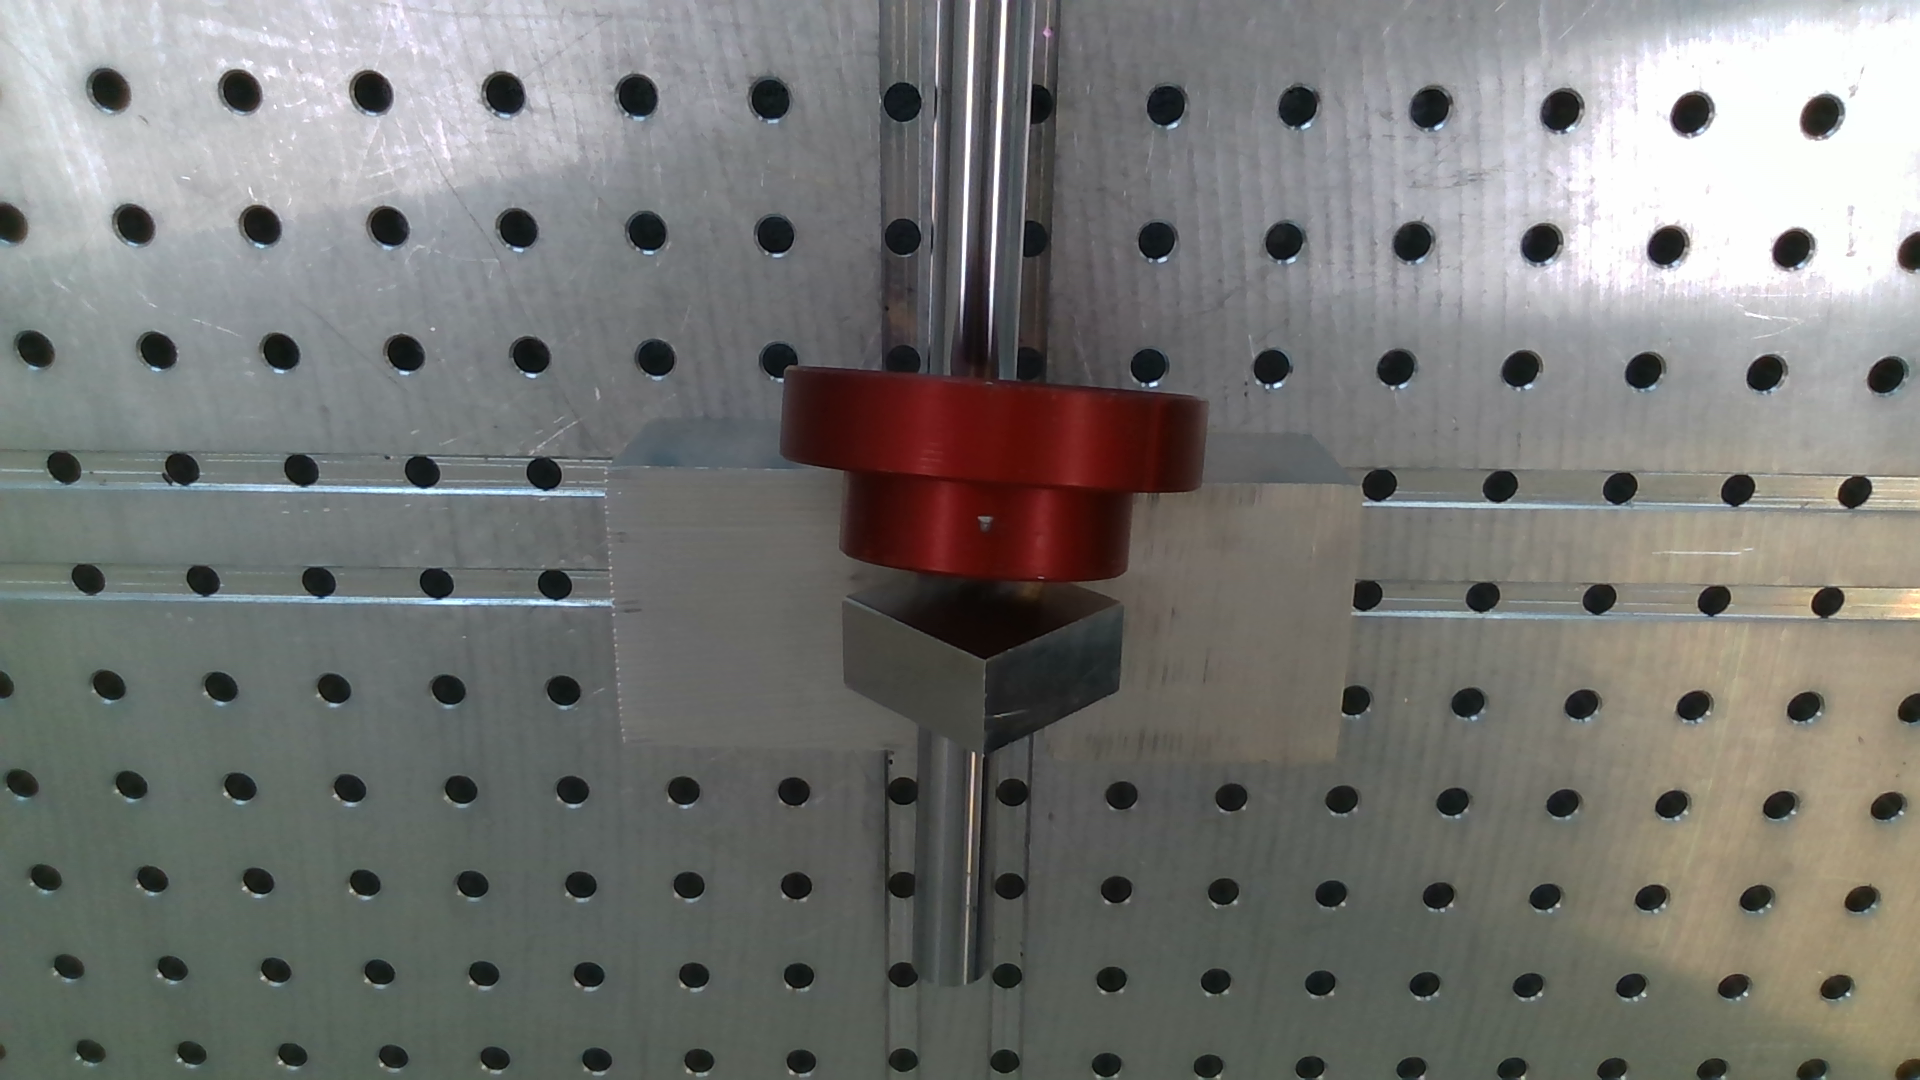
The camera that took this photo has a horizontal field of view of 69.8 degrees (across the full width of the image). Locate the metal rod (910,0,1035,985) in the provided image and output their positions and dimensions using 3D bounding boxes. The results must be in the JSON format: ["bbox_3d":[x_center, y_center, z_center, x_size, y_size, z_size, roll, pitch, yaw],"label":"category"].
[{"bbox_3d":[0.001,-0.005,0.394,0.025,0.025,0.301,2,110,-1],"label":"metal rod"}]

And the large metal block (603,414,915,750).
[{"bbox_3d":[-0.052,0.011,0.387,0.080,0.050,0.080,1,110,0],"label":"large metal block"}]

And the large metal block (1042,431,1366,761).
[{"bbox_3d":[0.063,0.014,0.388,0.080,0.050,0.080,1,110,0],"label":"large metal block"}]

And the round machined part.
[{"bbox_3d":[0.007,-0.016,0.321,0.098,0.098,0.042,4,95,-1],"label":"round machined part"}]

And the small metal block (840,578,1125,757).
[{"bbox_3d":[0.005,0.026,0.346,0.050,0.050,0.025,-18,117,-41],"label":"small metal block"}]
